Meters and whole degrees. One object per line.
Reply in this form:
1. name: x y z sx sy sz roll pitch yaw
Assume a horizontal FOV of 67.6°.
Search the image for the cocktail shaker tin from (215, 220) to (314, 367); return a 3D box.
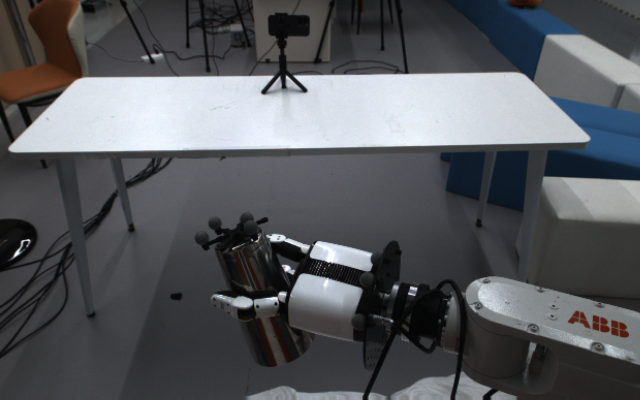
1. cocktail shaker tin: -0.077 0.125 0.638 0.093 0.170 0.093 -17 19 6
